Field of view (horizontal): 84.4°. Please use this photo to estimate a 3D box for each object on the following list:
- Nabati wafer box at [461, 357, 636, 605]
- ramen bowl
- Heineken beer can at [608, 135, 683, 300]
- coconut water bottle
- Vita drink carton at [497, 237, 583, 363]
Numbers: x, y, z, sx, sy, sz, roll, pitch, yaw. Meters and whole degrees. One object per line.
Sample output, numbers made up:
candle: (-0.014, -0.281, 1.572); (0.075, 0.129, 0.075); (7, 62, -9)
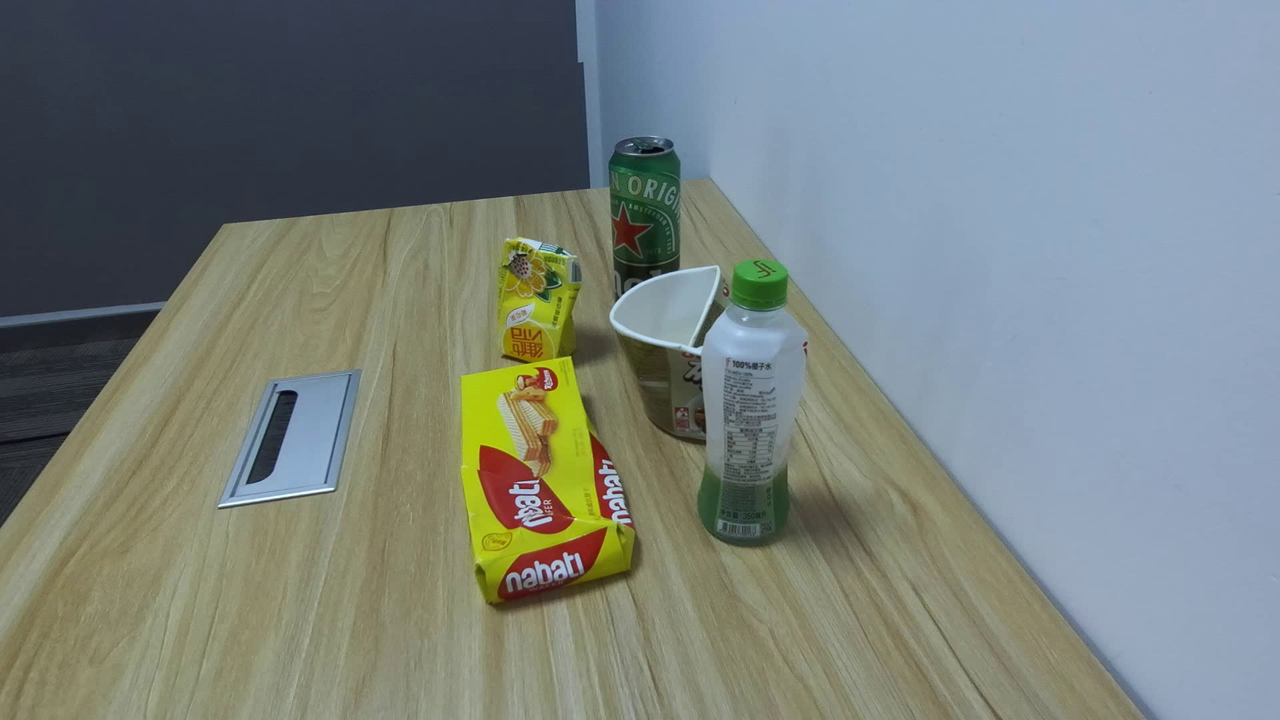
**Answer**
Nabati wafer box: (-0.073, 0.077, 0.513); (0.107, 0.042, 0.203); (-10, 37, -10)
ramen bowl: (0.048, -0.005, 0.568); (0.137, 0.098, 0.137); (0, 35, 0)
Heineken beer can: (0.007, -0.121, 0.680); (0.067, 0.169, 0.067); (-1, 30, 1)
coconut water bottle: (0.071, 0.028, 0.435); (0.069, 0.186, 0.069); (0, 34, 0)
Vita drink carton: (-0.091, -0.054, 0.645); (0.086, 0.108, 0.042); (16, 23, 20)
